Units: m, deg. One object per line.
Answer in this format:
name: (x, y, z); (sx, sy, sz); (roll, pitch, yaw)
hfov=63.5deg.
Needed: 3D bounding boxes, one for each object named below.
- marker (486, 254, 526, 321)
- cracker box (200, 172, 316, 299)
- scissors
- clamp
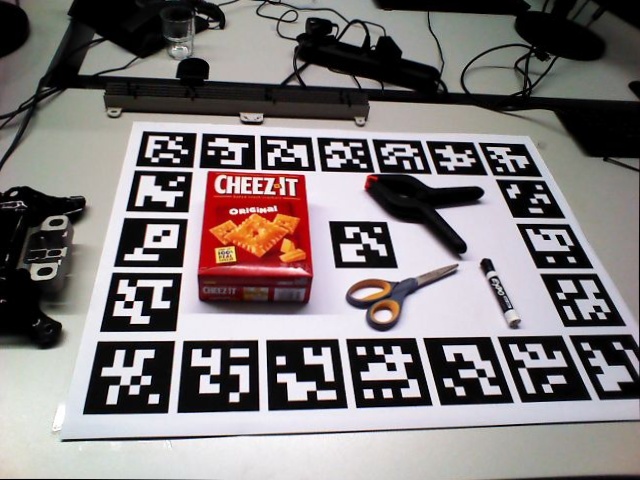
marker: (0.285, 0.069, 0.799); (0.019, 0.020, 0.120); (-3, 48, -9)
cracker box: (-0.092, -0.013, 0.792); (0.164, 0.072, 0.212); (1, 48, -6)
scissors: (0.143, 0.065, 0.785); (0.202, 0.016, 0.088); (-22, 53, -27)
clamp: (0.177, -0.070, 0.919); (0.203, 0.037, 0.164); (23, 48, 13)
